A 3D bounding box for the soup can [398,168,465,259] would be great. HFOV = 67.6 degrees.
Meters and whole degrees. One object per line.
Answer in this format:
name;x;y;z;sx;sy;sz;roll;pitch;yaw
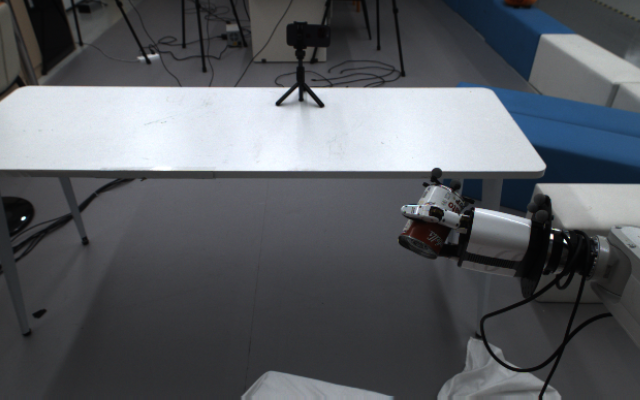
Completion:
soup can;0.179;0.032;0.767;0.067;0.067;0.101;23;72;28
